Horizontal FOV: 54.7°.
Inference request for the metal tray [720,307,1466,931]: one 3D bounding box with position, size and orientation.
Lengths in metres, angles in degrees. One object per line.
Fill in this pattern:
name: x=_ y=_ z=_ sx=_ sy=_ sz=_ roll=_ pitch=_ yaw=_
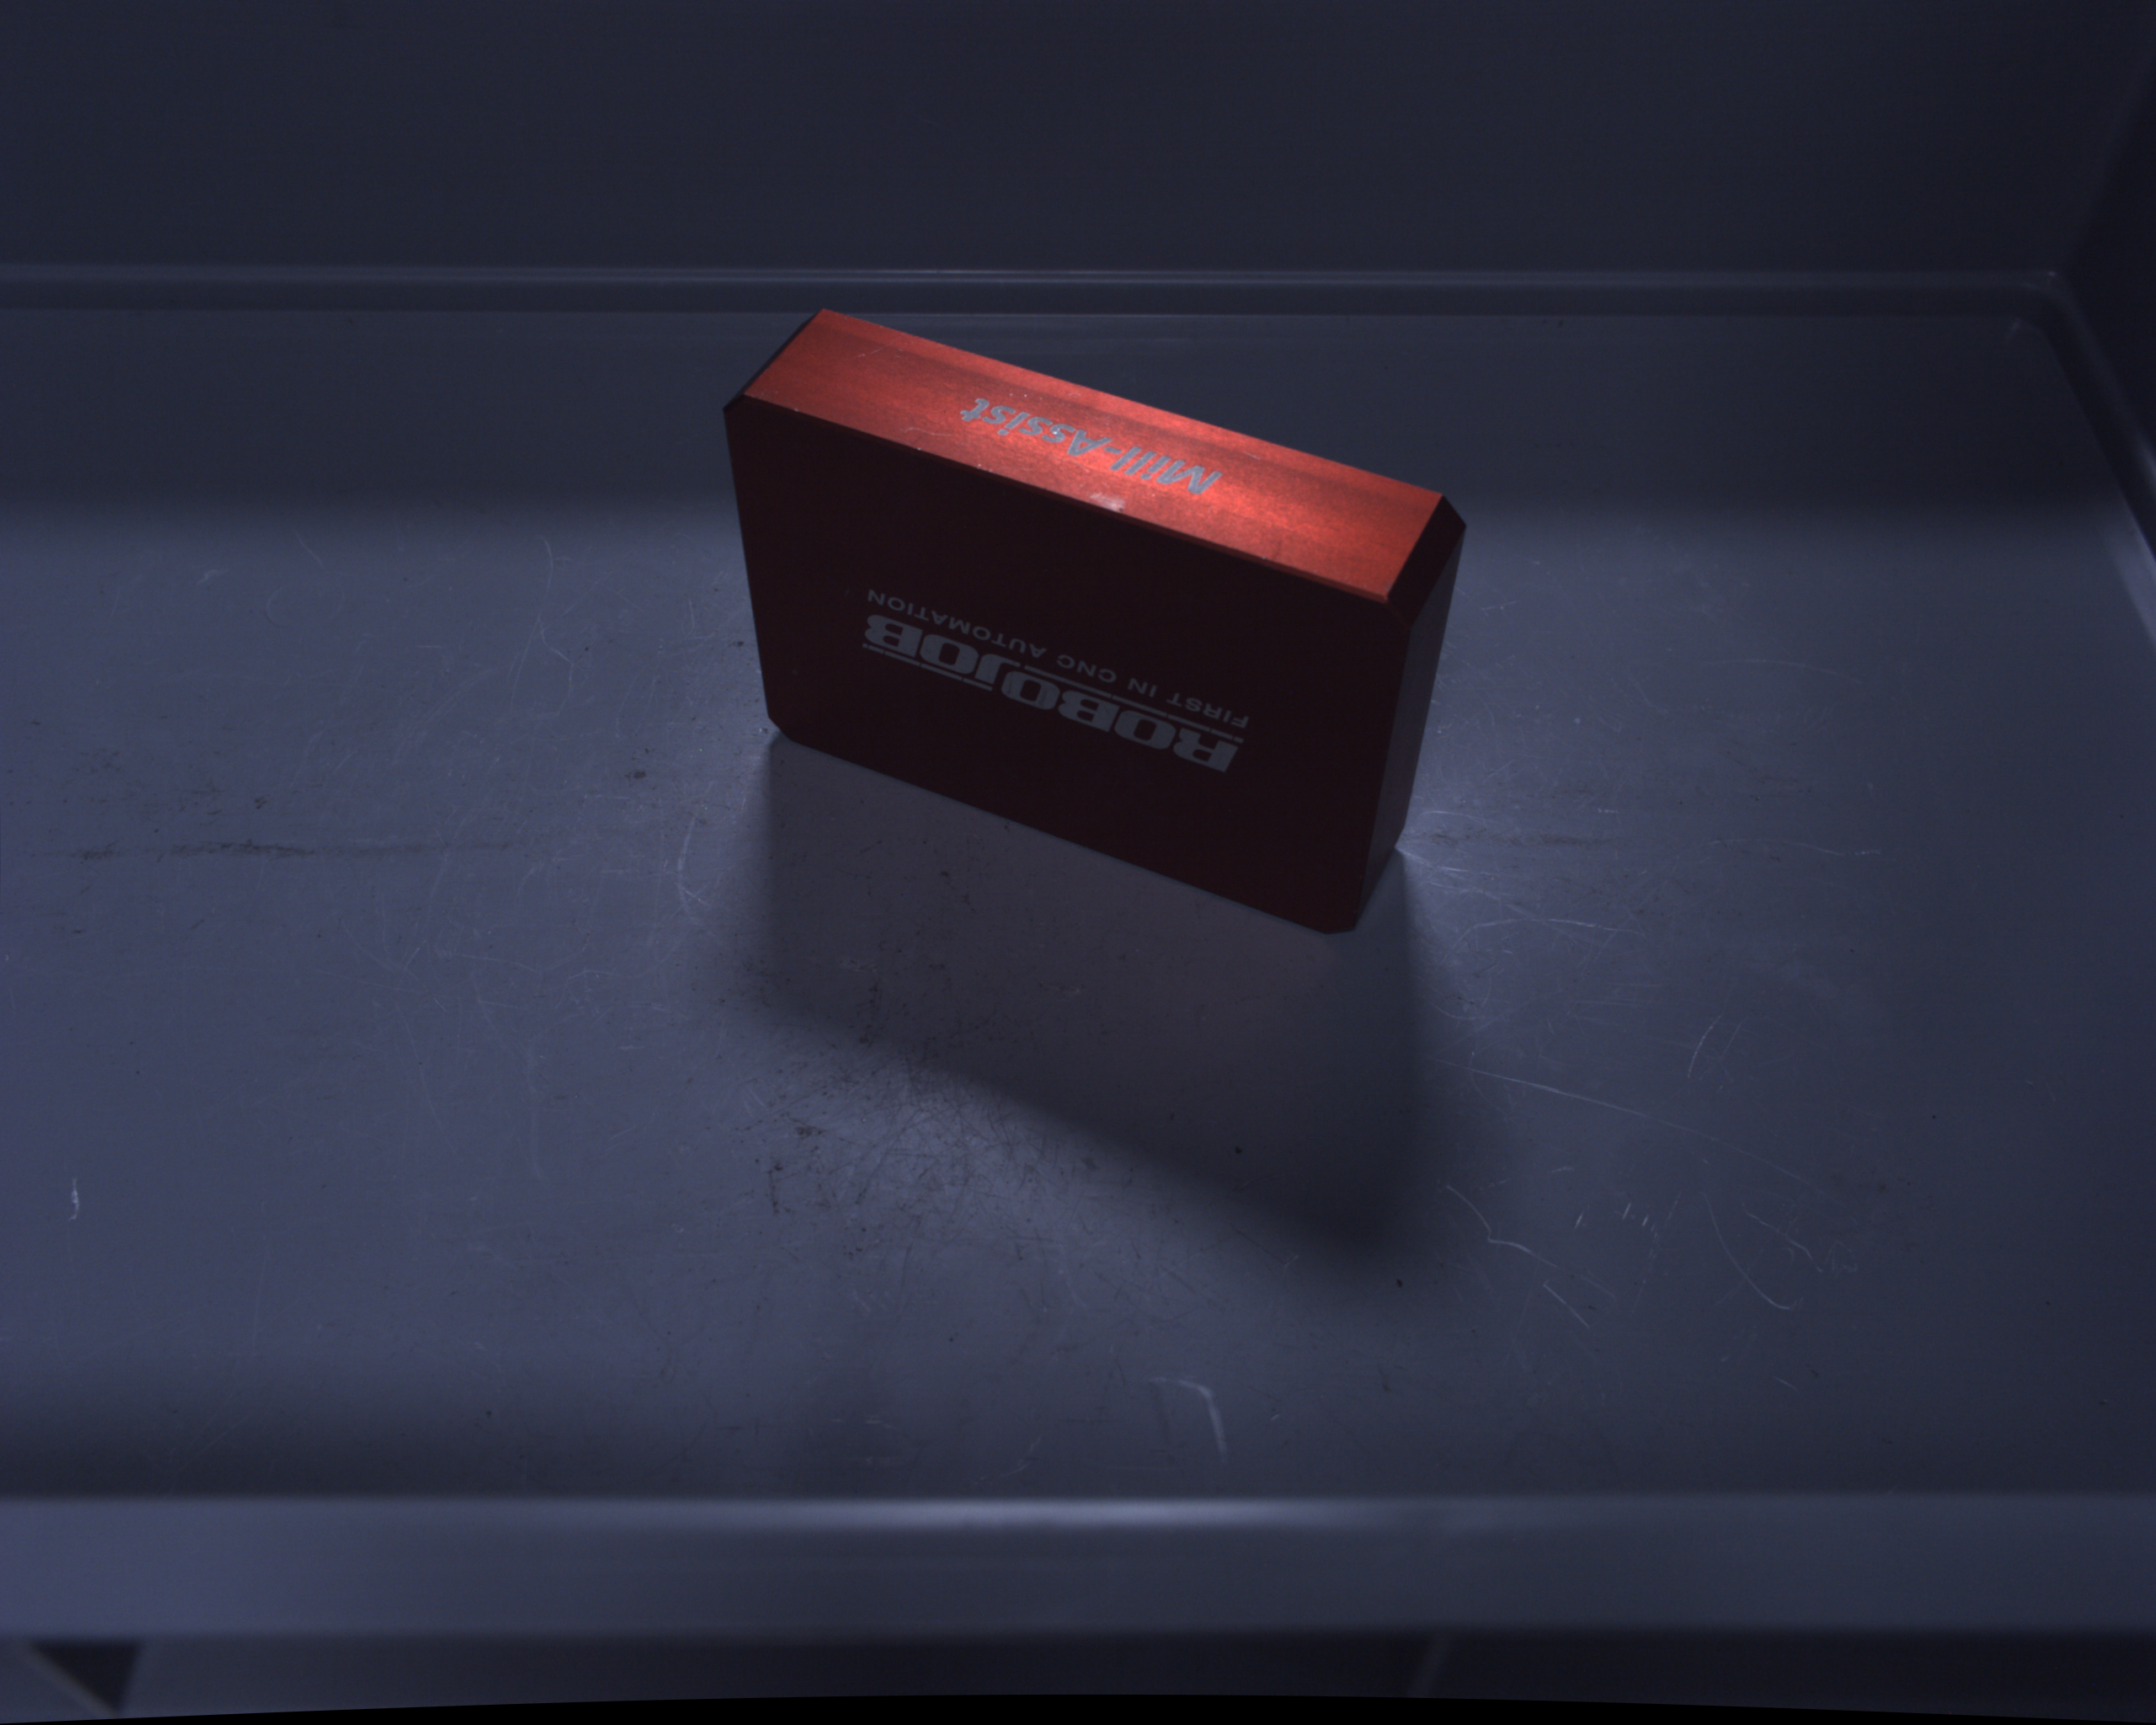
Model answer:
metal tray: x=0.001 y=-0.045 z=0.396 sx=0.130 sy=0.089 sz=0.030 roll=20 pitch=53 yaw=15
